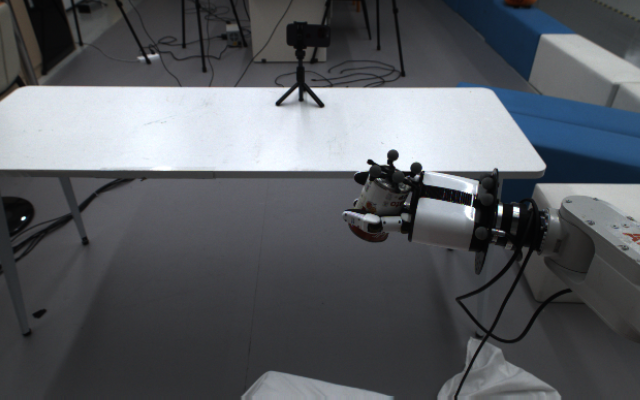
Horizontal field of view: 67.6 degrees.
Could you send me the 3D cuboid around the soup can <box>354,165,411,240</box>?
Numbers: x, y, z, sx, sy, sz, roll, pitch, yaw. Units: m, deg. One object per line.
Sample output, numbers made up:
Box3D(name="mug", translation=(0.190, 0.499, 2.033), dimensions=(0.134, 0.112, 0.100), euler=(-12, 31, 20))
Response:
Box3D(name="soup can", translation=(0.092, 0.005, 0.739), dimensions=(0.067, 0.101, 0.067), euler=(14, 35, -10))
